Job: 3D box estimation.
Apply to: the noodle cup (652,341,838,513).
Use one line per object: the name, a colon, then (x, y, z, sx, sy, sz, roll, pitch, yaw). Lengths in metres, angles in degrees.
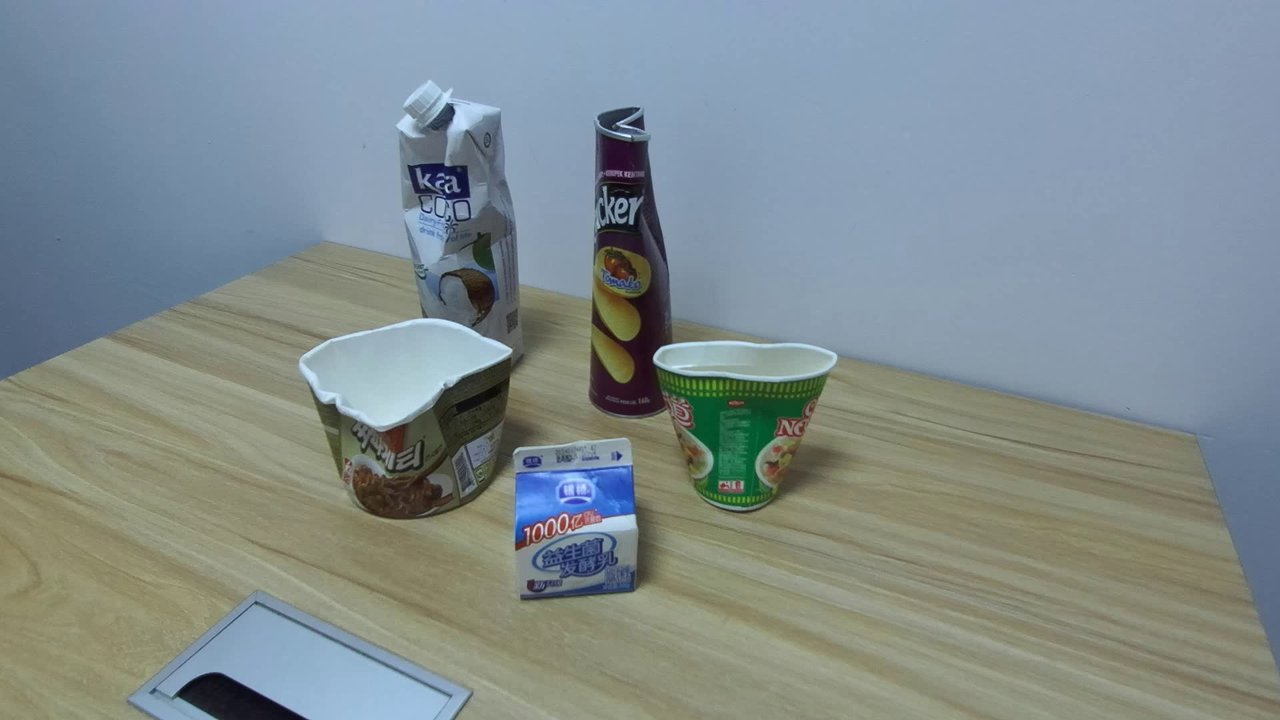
noodle cup: (0.069, 0.043, 0.497, 0.115, 0.111, 0.070, 12, 35, 18)

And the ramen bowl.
ramen bowl: (-0.173, 0.039, 0.516, 0.133, 0.097, 0.114, 17, 37, 22)

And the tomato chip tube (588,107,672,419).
tomato chip tube: (-0.004, -0.071, 0.565, 0.078, 0.235, 0.076, -25, 38, -37)

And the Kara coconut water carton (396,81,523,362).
Kara coconut water carton: (-0.153, -0.105, 0.597, 0.083, 0.256, 0.078, 18, 38, 24)

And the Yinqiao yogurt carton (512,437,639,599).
Yinqiao yogurt carton: (-0.041, 0.088, 0.442, 0.076, 0.092, 0.073, -3, 31, -4)
